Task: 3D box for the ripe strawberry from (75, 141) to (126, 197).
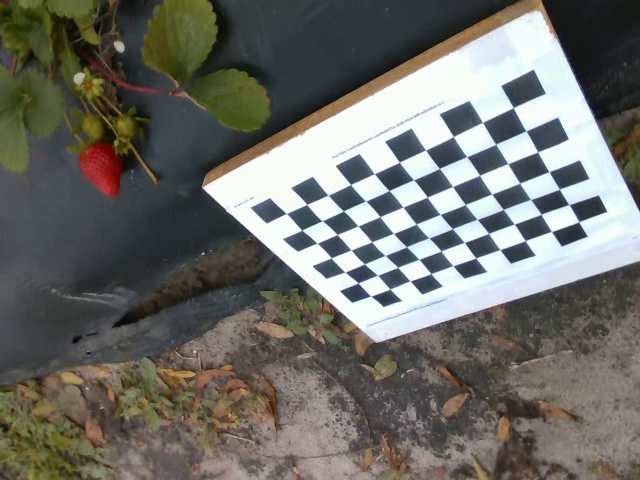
[{"bbox_3d":[-0.056,-0.016,0.139,0.018,0.017,0.014,-27,-4,17],"label":"ripe strawberry"}]
